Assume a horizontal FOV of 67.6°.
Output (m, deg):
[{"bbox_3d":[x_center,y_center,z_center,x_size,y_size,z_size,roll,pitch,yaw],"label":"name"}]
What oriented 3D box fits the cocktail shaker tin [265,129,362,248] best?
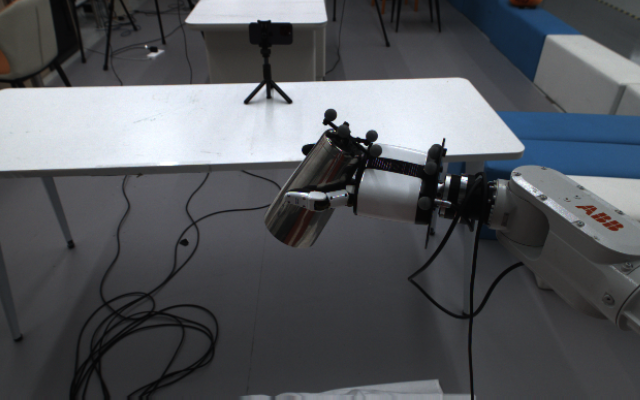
[{"bbox_3d":[-0.005,-0.024,0.721,0.093,0.170,0.093,26,32,-18],"label":"cocktail shaker tin"}]
